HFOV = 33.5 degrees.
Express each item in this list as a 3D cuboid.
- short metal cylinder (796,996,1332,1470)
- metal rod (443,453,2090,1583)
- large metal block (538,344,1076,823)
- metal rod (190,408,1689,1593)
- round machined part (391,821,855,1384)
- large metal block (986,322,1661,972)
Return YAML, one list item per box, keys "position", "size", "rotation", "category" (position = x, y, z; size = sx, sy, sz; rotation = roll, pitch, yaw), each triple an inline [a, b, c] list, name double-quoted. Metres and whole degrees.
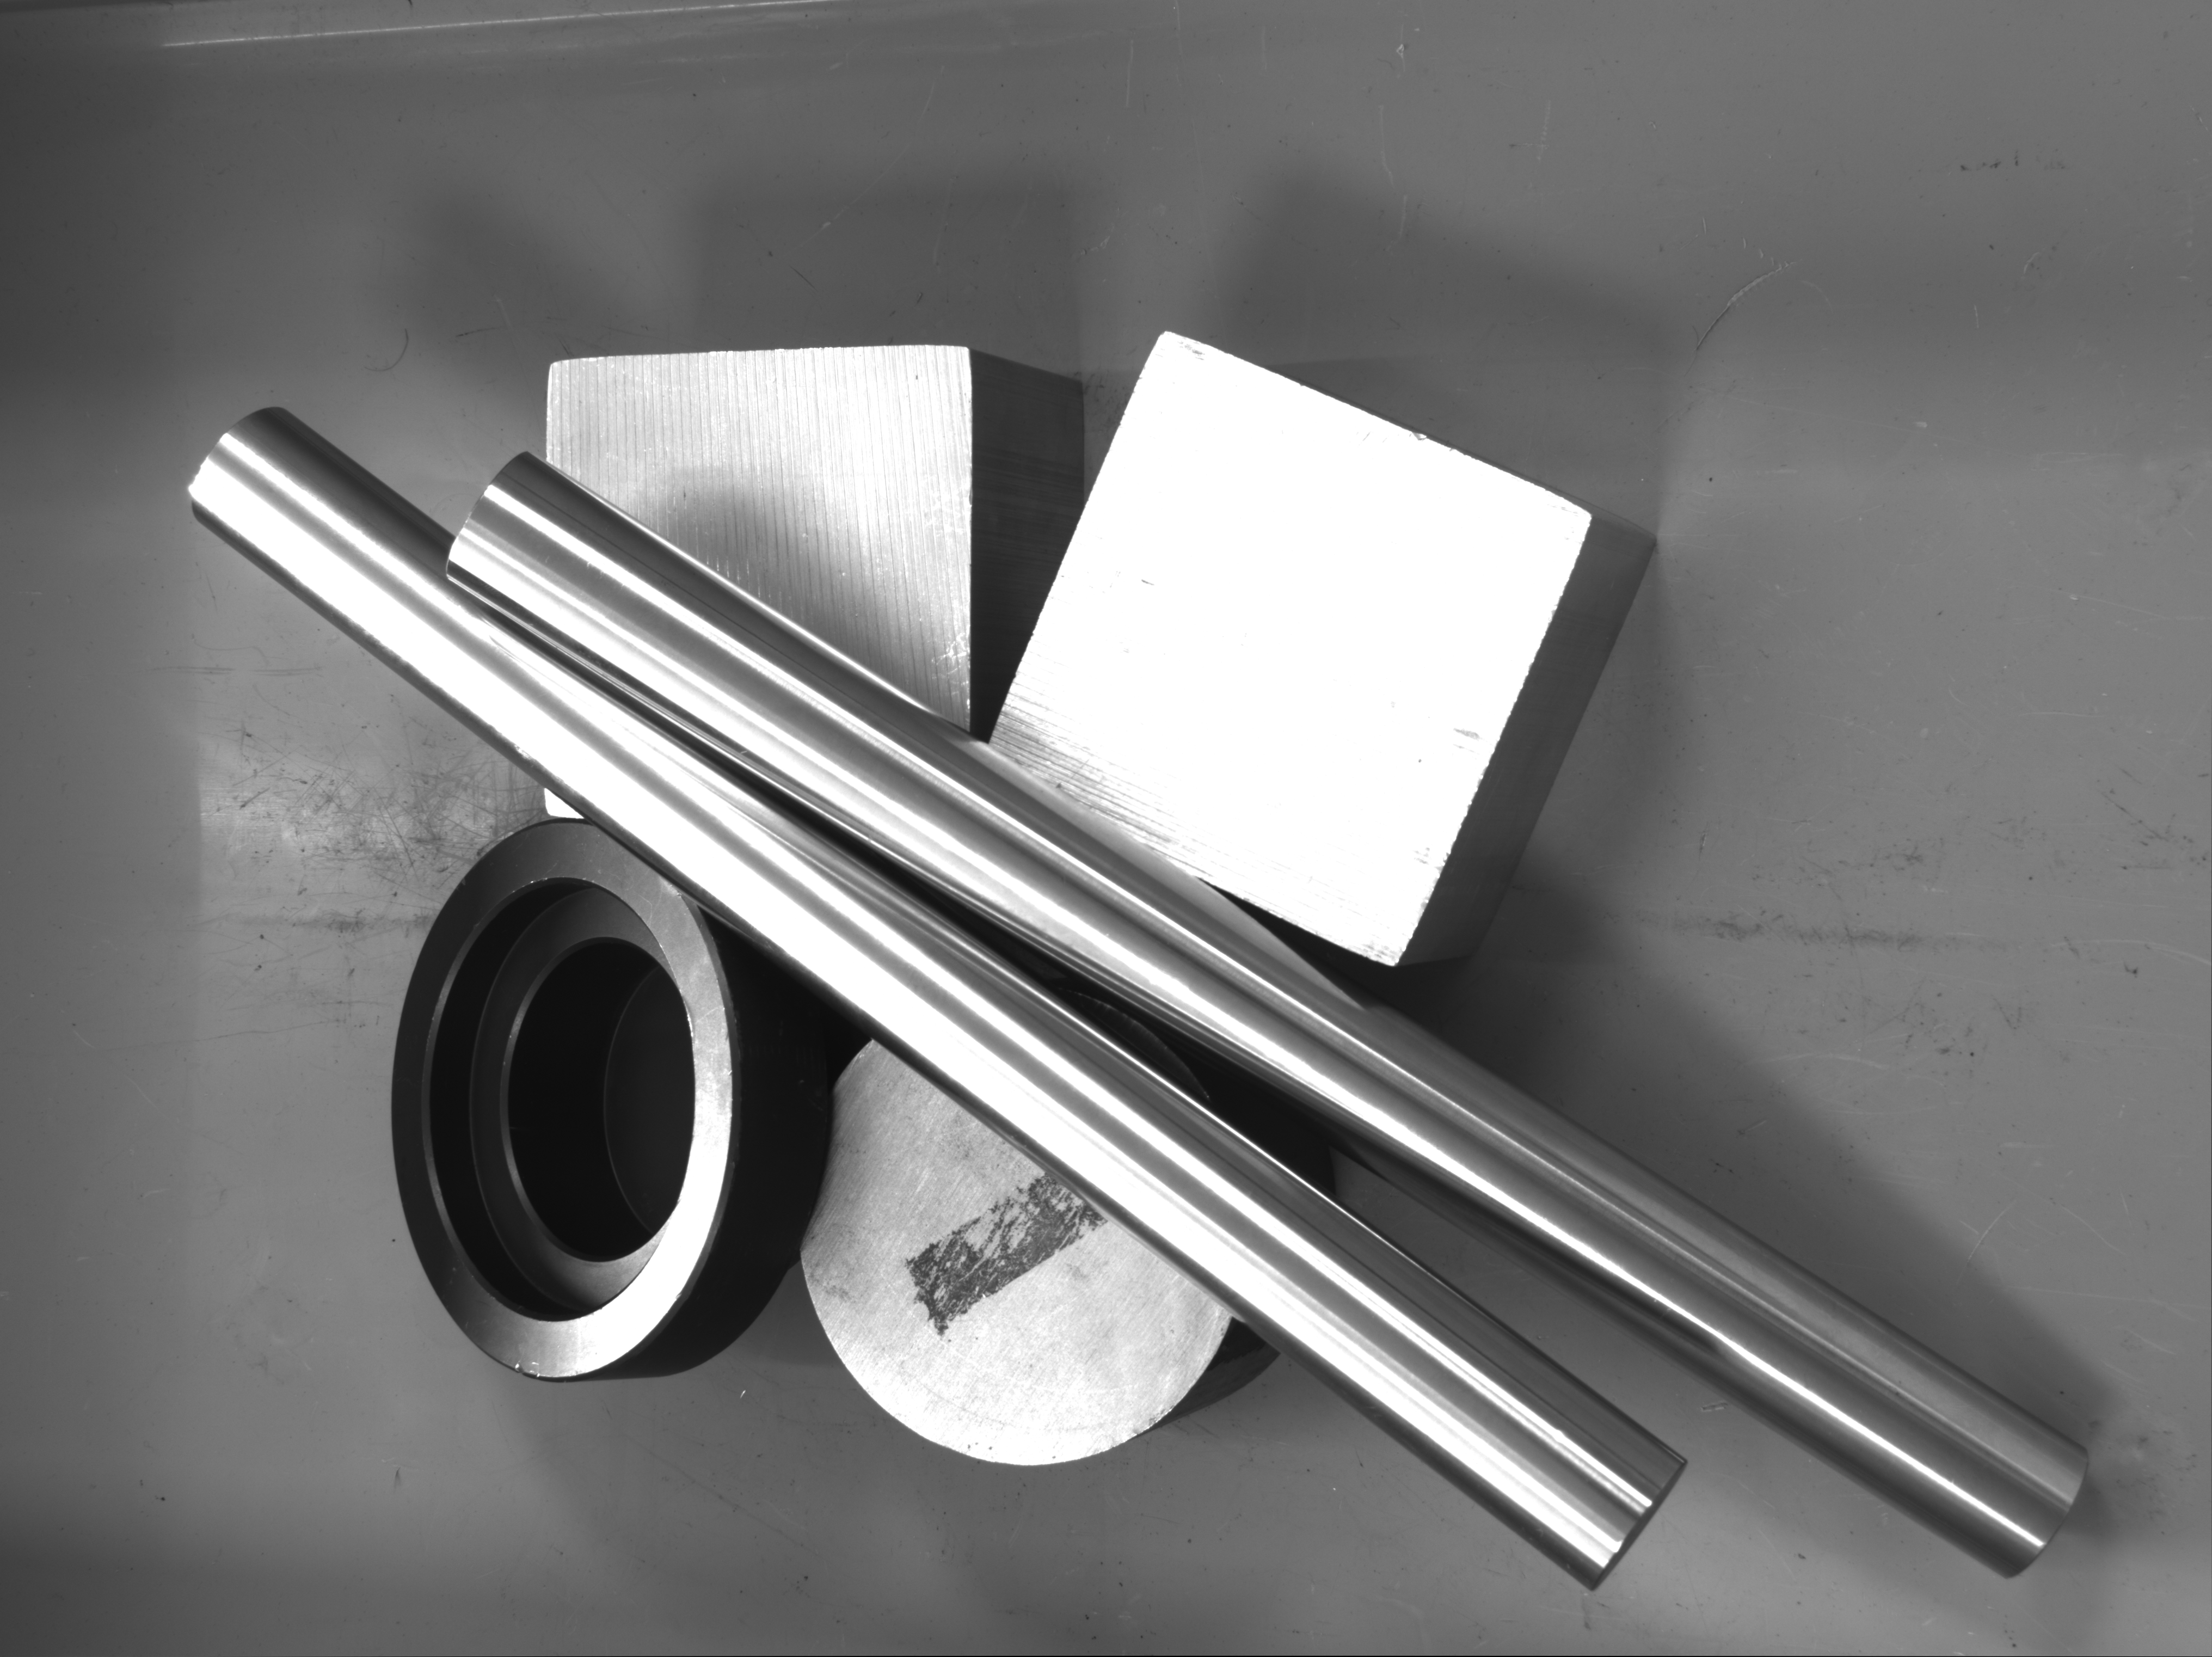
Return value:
- position: [-0.006, 0.067, 0.633]
  size: [0.080, 0.050, 0.080]
  rotation: [0, 90, 20]
  category: "short metal cylinder"
- position: [0.025, 0.030, 0.597]
  size: [0.300, 0.025, 0.025]
  rotation: [33, 101, 2]
  category: "metal rod"
- position: [-0.052, -0.041, 0.648]
  size: [0.080, 0.050, 0.080]
  rotation: [1, 90, 20]
  category: "large metal block"
- position: [-0.035, 0.022, 0.603]
  size: [0.300, 0.025, 0.025]
  rotation: [36, 102, 15]
  category: "metal rod"
- position: [-0.082, 0.049, 0.654]
  size: [0.098, 0.042, 0.098]
  rotation: [-4, 84, 44]
  category: "round machined part"
- position: [0.036, -0.030, 0.618]
  size: [0.080, 0.050, 0.080]
  rotation: [26, 98, 18]
  category: "large metal block"
